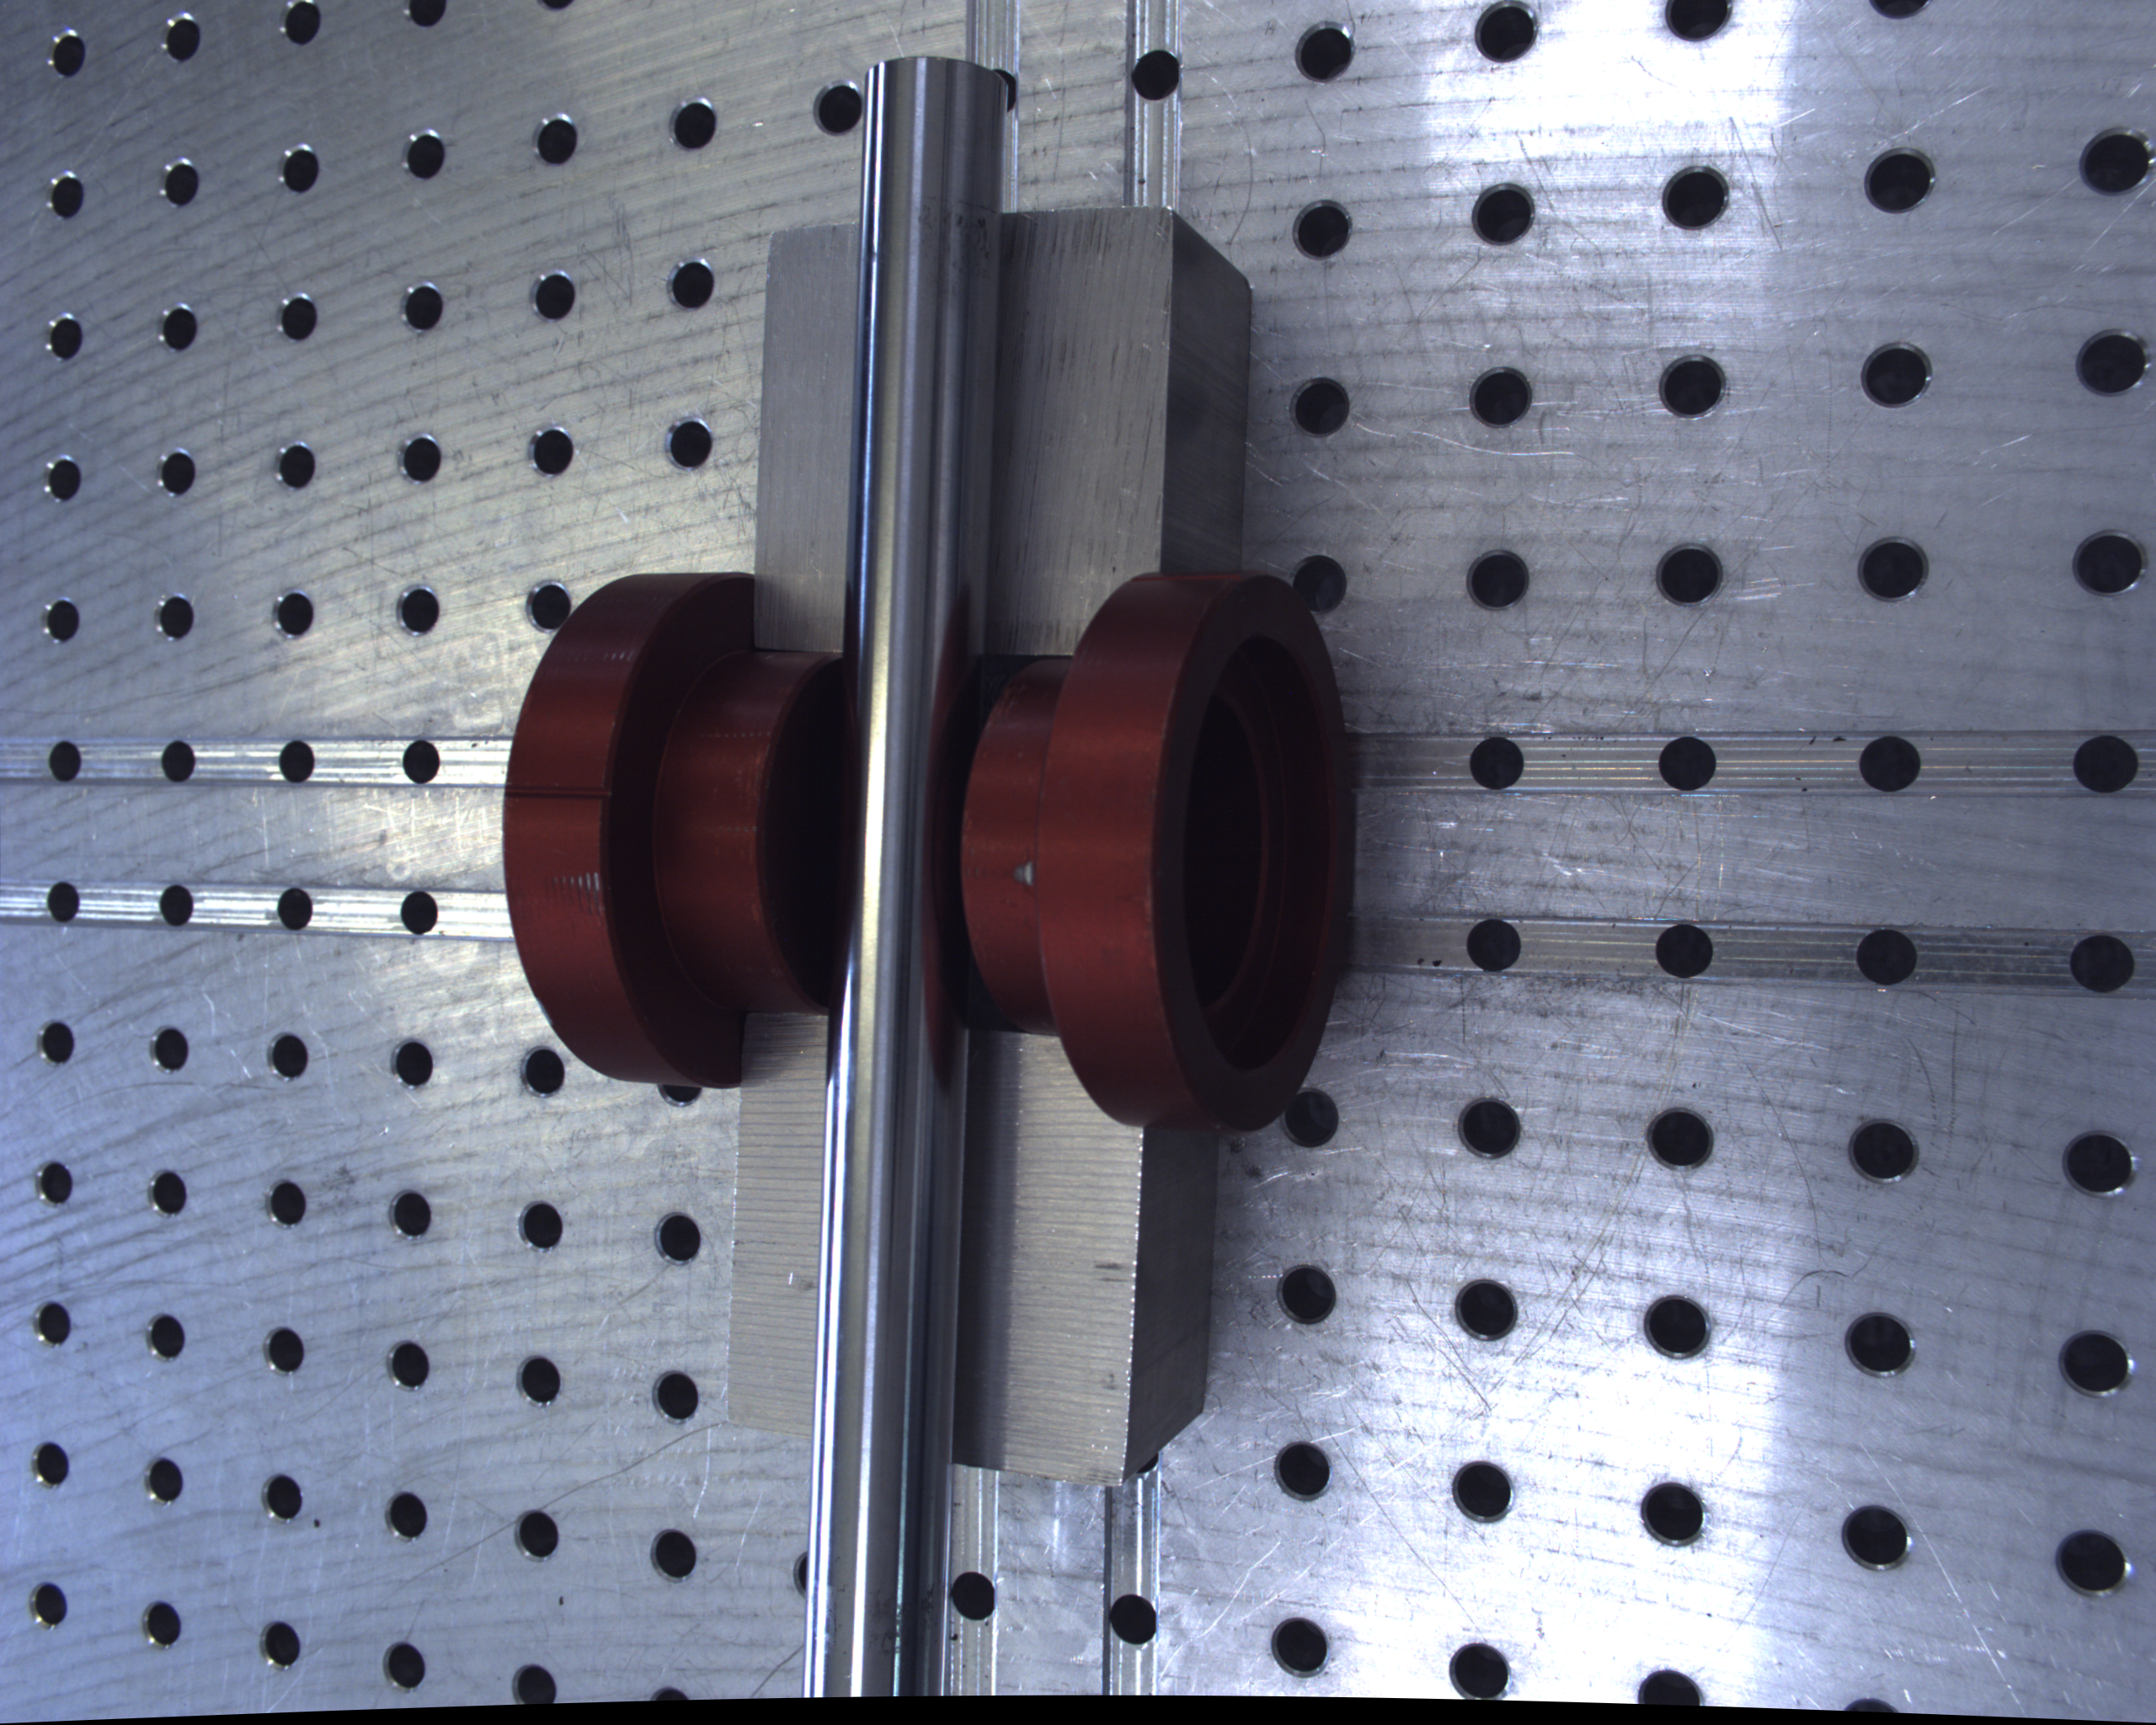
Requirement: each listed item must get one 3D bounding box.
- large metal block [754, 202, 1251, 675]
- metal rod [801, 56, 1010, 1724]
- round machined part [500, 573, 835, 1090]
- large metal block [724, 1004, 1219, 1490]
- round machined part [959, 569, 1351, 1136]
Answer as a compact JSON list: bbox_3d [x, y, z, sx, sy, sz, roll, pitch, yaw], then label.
[{"bbox_3d":[-0.014,-0.078,0.404,0.080,0.050,0.079,2,91,20],"label":"large metal block"},{"bbox_3d":[-0.031,0.011,0.370,0.025,0.025,0.298,3,91,20],"label":"metal rod"},{"bbox_3d":[-0.062,-0.006,0.395,0.042,0.098,0.097,2,91,20],"label":"round machined part"},{"bbox_3d":[-0.019,0.069,0.405,0.080,0.050,0.079,3,91,20],"label":"large metal block"},{"bbox_3d":[0.013,-0.002,0.369,0.042,0.098,0.097,2,91,25],"label":"round machined part"}]
